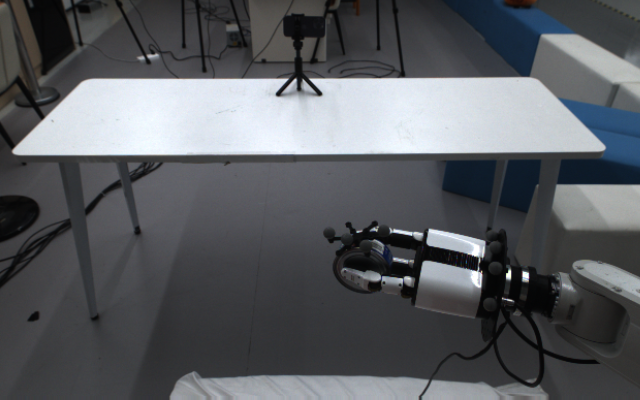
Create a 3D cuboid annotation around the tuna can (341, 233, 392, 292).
[{"bbox_3d":[0.066,0.095,0.712,0.085,0.085,0.034,10,33,11],"label":"tuna can"}]
